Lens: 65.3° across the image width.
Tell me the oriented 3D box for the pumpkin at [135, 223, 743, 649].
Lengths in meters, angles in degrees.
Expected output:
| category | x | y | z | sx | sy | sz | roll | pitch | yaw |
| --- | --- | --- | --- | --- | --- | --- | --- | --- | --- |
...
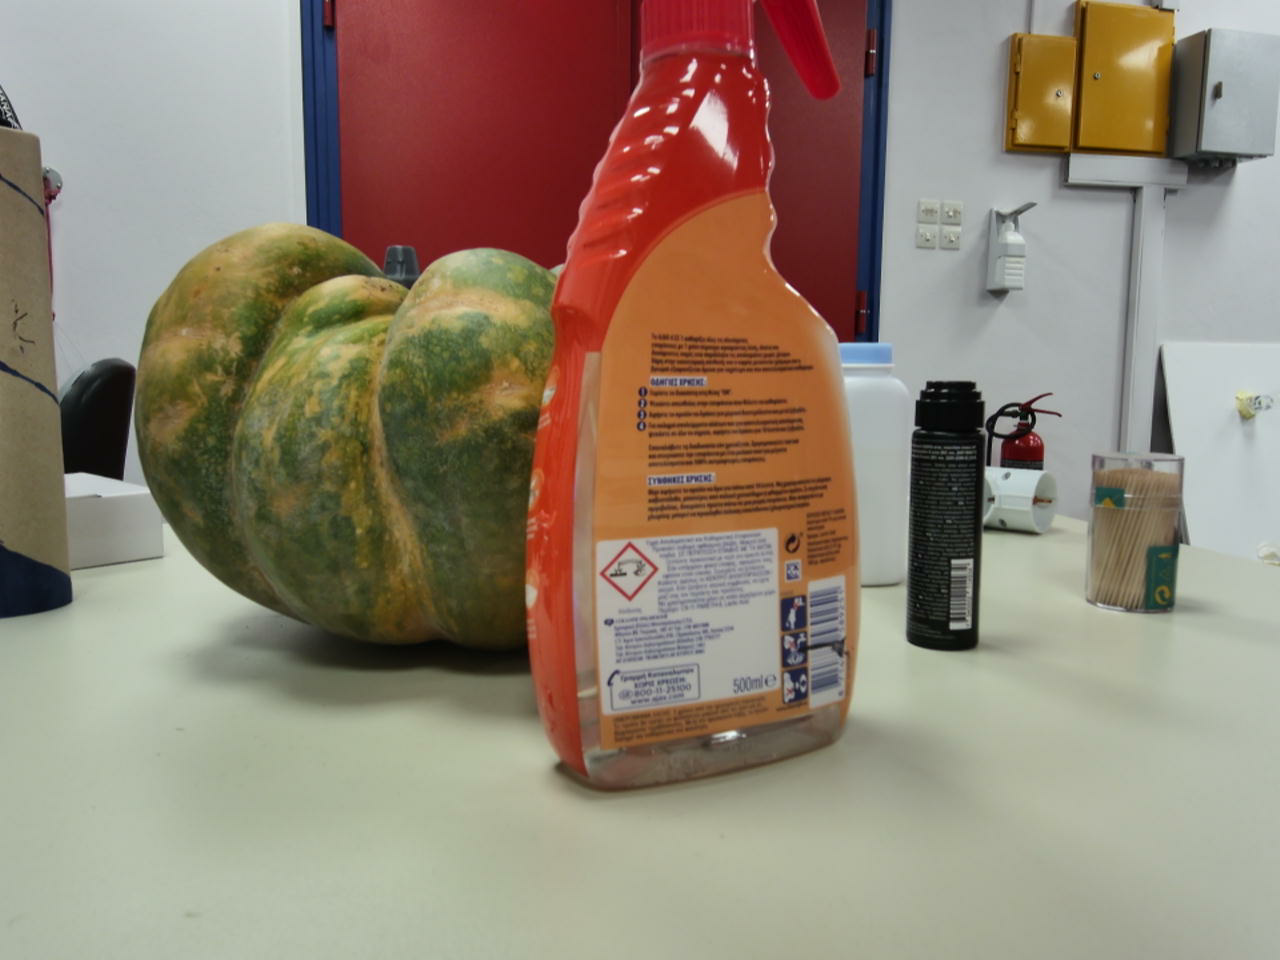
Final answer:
| category | x | y | z | sx | sy | sz | roll | pitch | yaw |
| --- | --- | --- | --- | --- | --- | --- | --- | --- | --- |
| pumpkin | -0.083 | -0.019 | 0.448 | 0.270 | 0.173 | 0.237 | 2 | 5 | 24 |
